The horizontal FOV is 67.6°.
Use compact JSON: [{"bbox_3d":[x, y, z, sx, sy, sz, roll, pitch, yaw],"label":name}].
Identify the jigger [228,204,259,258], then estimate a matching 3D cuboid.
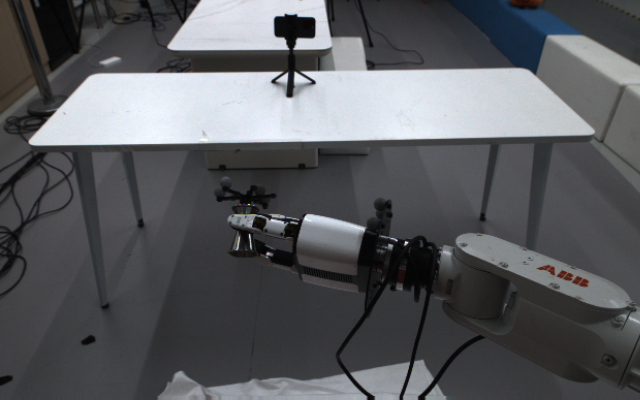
[{"bbox_3d":[-0.107,0.043,0.684,0.043,0.043,0.071,1,71,-2],"label":"jigger"}]
